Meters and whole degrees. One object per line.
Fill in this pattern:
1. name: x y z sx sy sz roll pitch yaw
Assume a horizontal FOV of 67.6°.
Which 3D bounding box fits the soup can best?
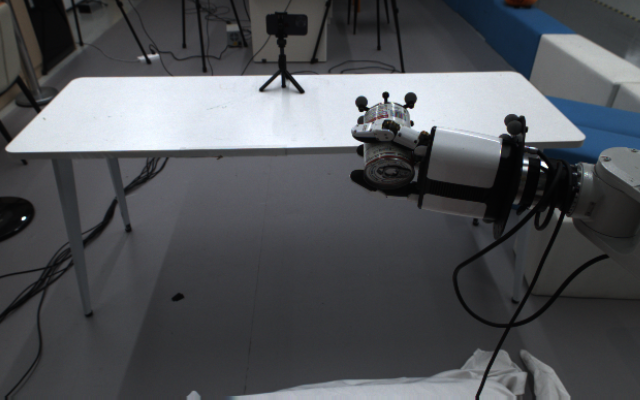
1. soup can: 0.093 -0.075 0.659 0.067 0.067 0.101 3 57 1
